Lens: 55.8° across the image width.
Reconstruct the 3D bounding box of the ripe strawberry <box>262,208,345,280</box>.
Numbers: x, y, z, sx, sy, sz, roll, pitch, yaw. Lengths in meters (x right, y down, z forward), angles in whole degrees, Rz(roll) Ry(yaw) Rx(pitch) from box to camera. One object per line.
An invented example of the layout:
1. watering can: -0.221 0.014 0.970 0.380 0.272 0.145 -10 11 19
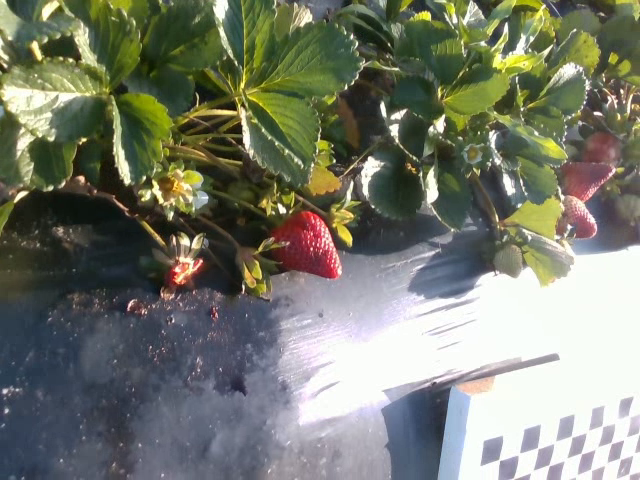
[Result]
1. ripe strawberry: -0.004 0.008 0.395 0.052 0.051 0.041 -34 -30 -21
